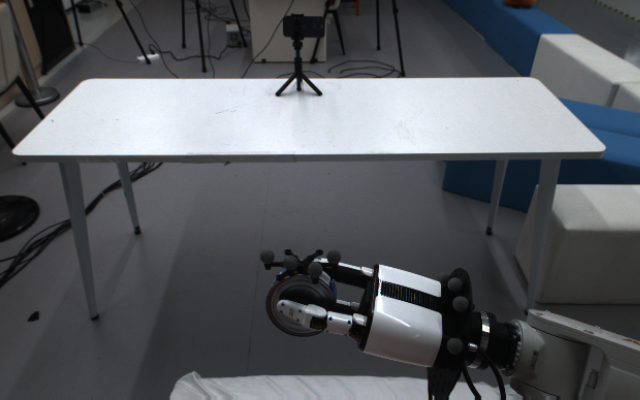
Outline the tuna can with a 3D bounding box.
[{"bbox_3d":[-0.018,0.128,0.591,0.085,0.085,0.034,4,18,3],"label":"tuna can"}]
